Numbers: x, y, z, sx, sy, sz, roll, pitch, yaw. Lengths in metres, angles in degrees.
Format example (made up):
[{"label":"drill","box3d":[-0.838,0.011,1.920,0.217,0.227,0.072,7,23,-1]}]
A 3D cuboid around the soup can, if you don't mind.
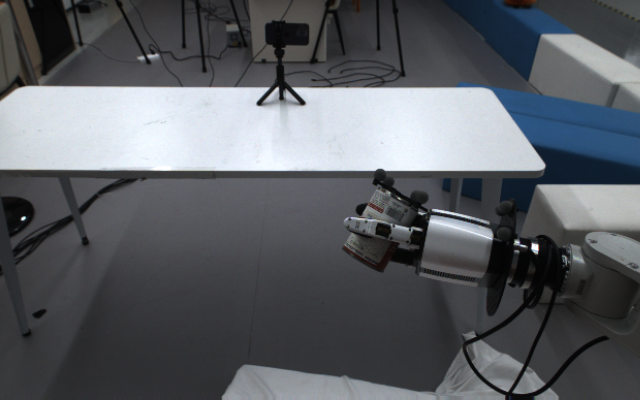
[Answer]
[{"label":"soup can","box3d":[0.086,0.041,0.680,0.067,0.101,0.067,30,2,-1]}]
